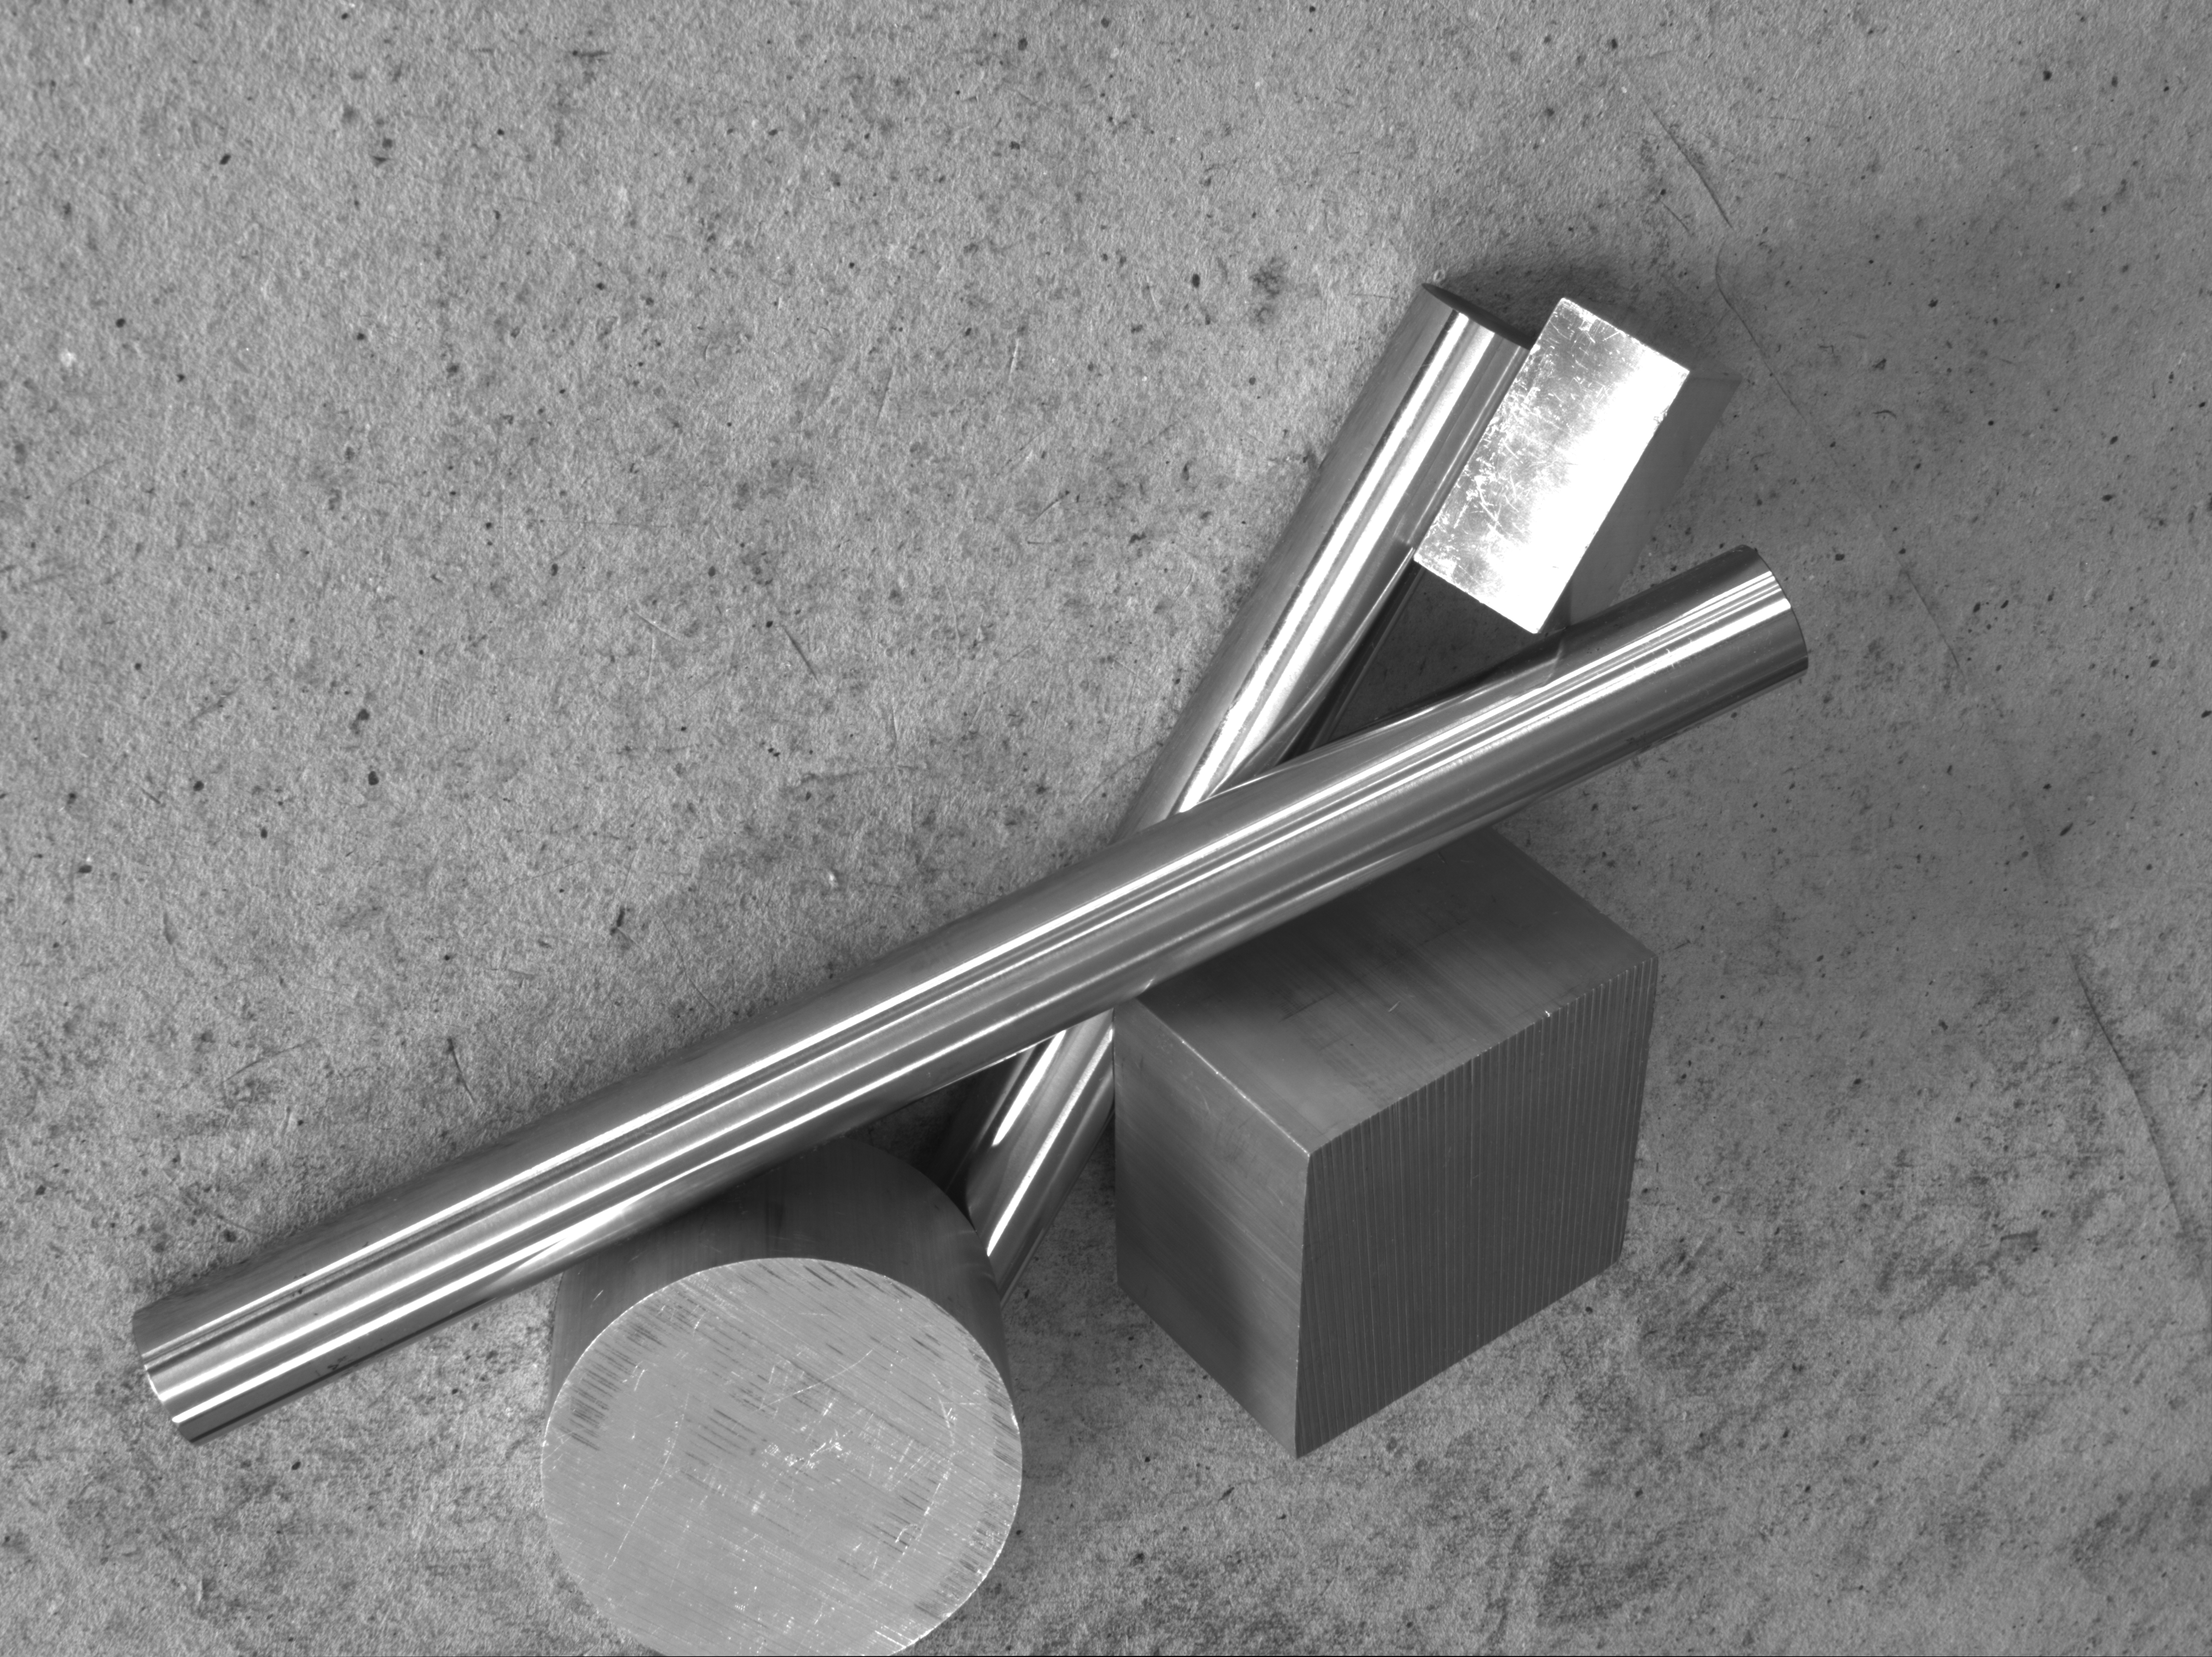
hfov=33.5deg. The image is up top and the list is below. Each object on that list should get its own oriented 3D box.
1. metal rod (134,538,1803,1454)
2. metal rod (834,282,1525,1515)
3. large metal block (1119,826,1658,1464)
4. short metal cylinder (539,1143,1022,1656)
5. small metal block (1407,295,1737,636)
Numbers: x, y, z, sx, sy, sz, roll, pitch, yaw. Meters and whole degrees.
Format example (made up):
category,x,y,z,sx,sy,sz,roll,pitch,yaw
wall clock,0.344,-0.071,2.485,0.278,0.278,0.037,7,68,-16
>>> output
category,x,y,z,sx,sy,sz,roll,pitch,yaw
metal rod,-0.021,0.027,0.621,0.300,0.025,0.025,-26,128,-4
metal rod,-0.006,0.040,0.658,0.025,0.025,0.300,18,109,-35
large metal block,0.049,0.054,0.662,0.080,0.050,0.080,-27,138,-27
short metal cylinder,-0.057,0.099,0.635,0.080,0.050,0.080,-2,110,-6
small metal block,0.081,-0.062,0.627,0.050,0.025,0.050,-61,166,15
